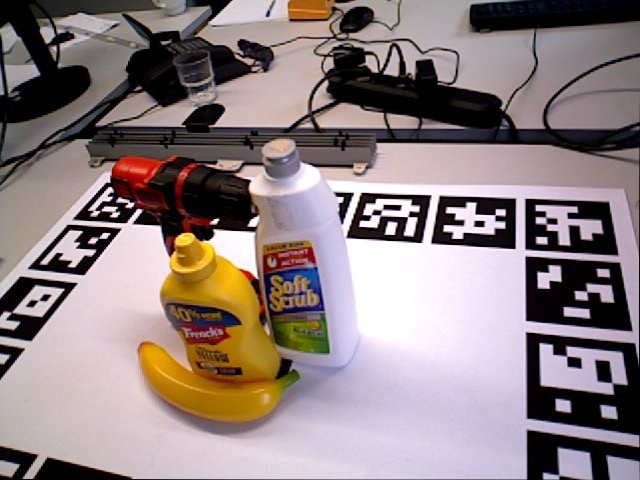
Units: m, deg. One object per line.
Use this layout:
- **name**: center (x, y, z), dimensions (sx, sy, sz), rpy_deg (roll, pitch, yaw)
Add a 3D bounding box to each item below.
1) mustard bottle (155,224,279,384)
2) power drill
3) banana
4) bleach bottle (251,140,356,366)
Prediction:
- **mustard bottle**: center (-0.101, 0.063, 0.511), dimensions (0.096, 0.195, 0.057), rpy_deg (5, 44, 16)
- **power drill**: center (-0.125, -0.002, 0.557), dimensions (0.185, 0.190, 0.056), rpy_deg (14, 46, 24)
- **banana**: center (-0.116, 0.146, 0.555), dimensions (0.198, 0.039, 0.072), rpy_deg (5, 46, 22)
- **bleach bottle**: center (-0.023, 0.010, 0.512), dimensions (0.103, 0.255, 0.066), rpy_deg (6, 39, 19)
